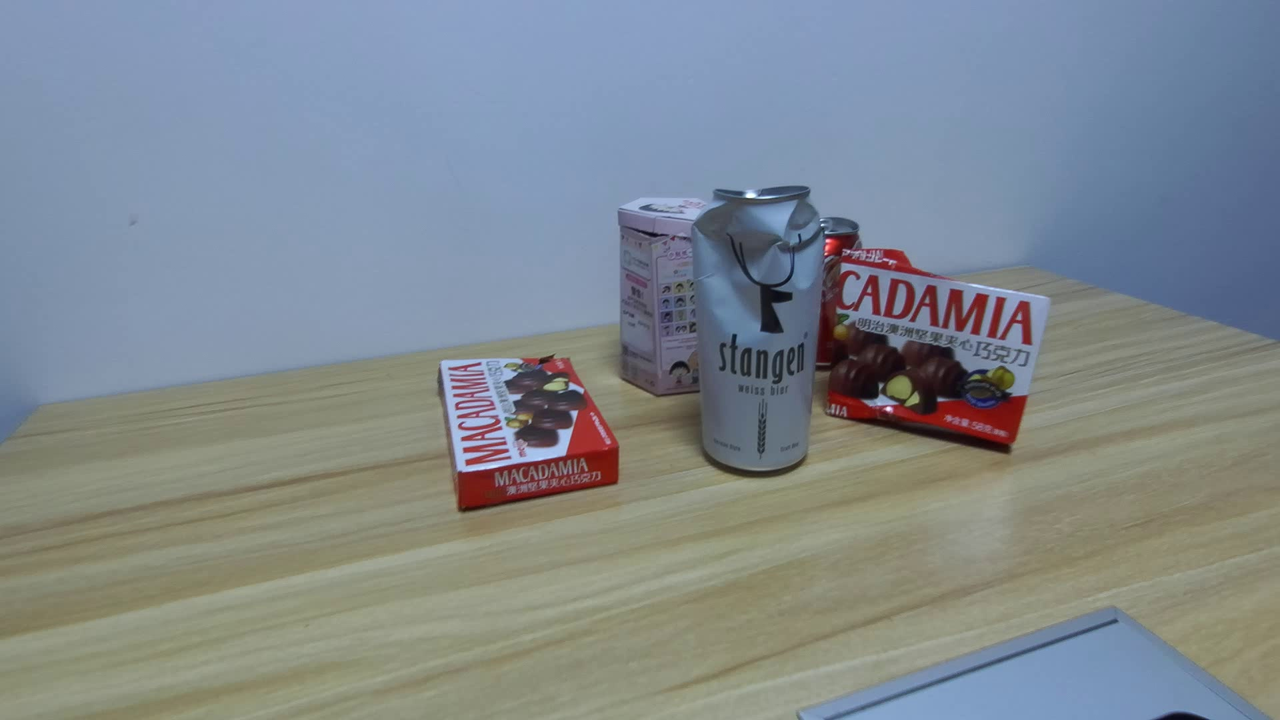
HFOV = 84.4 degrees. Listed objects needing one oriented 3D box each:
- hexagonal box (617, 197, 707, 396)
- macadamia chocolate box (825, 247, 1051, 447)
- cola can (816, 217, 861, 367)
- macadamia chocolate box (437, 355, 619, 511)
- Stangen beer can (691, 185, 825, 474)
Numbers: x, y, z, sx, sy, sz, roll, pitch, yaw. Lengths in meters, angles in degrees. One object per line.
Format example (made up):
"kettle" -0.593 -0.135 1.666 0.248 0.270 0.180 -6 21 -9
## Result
"hexagonal box" 0.027 -0.049 0.532 0.085 0.135 0.091 -17 27 -33
"macadamia chocolate box" 0.191 -0.010 0.463 0.126 0.112 0.056 12 25 29
"cola can" 0.151 -0.053 0.568 0.065 0.112 0.069 -8 0 44
"macadamia chocolate box" -0.082 0.036 0.487 0.103 0.027 0.186 -7 23 -17
"Stangen beer can" 0.070 -0.016 0.416 0.065 0.166 0.066 15 26 37
